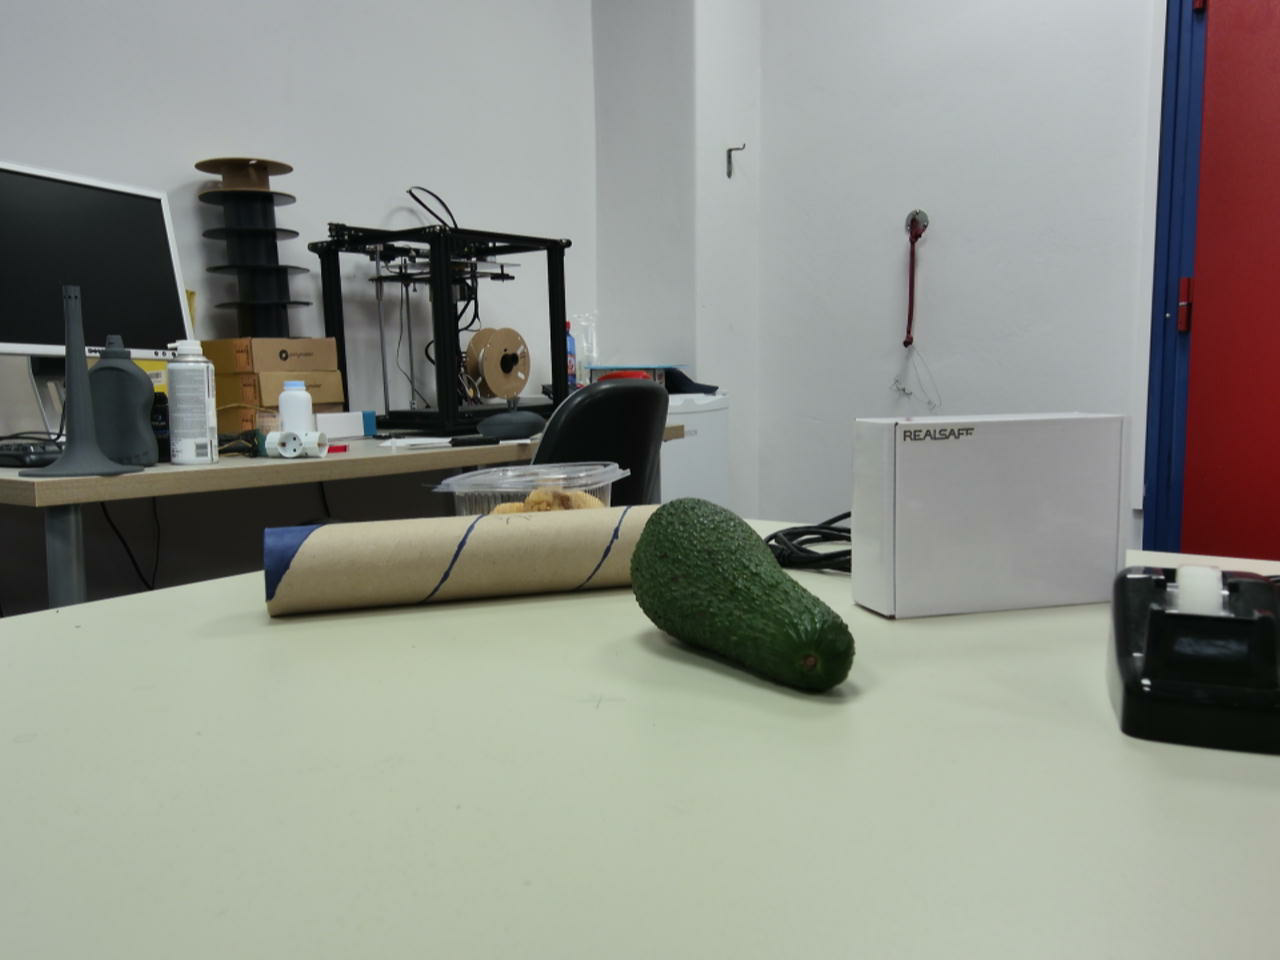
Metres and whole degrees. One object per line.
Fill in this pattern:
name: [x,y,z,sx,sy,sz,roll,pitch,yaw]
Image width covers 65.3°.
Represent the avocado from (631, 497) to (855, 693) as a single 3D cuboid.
avocado: [0.046,0.044,0.434,0.063,0.067,0.141,-2,4,-37]
